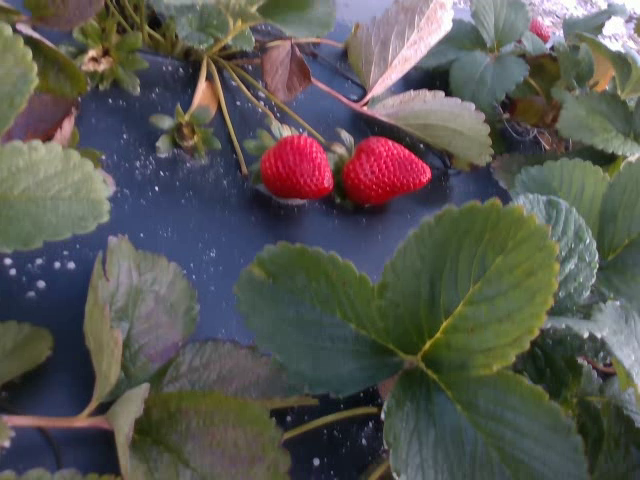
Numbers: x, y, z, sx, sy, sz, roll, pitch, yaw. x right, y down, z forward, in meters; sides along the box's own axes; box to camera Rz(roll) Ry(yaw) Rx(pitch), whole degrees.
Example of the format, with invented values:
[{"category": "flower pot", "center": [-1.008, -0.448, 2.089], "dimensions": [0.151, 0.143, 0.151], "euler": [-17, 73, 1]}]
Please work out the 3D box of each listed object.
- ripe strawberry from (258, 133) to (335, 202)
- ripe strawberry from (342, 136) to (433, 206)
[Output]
[{"category": "ripe strawberry", "center": [-0.010, -0.043, 0.382], "dimensions": [0.048, 0.041, 0.056], "euler": [-11, 43, -33]}, {"category": "ripe strawberry", "center": [0.047, -0.048, 0.408], "dimensions": [0.064, 0.051, 0.058], "euler": [16, 45, 23]}]
